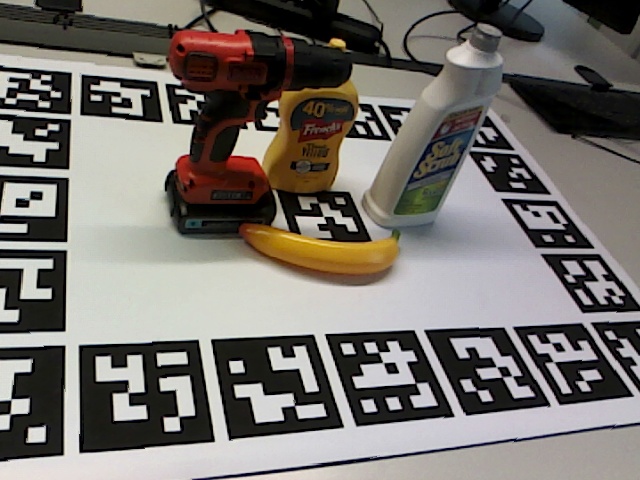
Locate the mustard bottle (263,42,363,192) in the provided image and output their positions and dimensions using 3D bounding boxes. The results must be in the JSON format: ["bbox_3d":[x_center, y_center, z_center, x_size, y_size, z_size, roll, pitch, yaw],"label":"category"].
[{"bbox_3d":[-0.001,-0.145,0.739,0.096,0.191,0.059,2,44,-23],"label":"mustard bottle"}]

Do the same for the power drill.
[{"bbox_3d":[-0.074,-0.118,0.649,0.183,0.187,0.058,1,38,-26],"label":"power drill"}]

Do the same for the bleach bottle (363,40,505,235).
[{"bbox_3d":[0.140,-0.117,0.734,0.102,0.251,0.068,-5,48,-28],"label":"bleach bottle"}]

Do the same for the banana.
[{"bbox_3d":[0.019,0.008,0.693,0.196,0.039,0.074,2,48,-18],"label":"banana"}]
